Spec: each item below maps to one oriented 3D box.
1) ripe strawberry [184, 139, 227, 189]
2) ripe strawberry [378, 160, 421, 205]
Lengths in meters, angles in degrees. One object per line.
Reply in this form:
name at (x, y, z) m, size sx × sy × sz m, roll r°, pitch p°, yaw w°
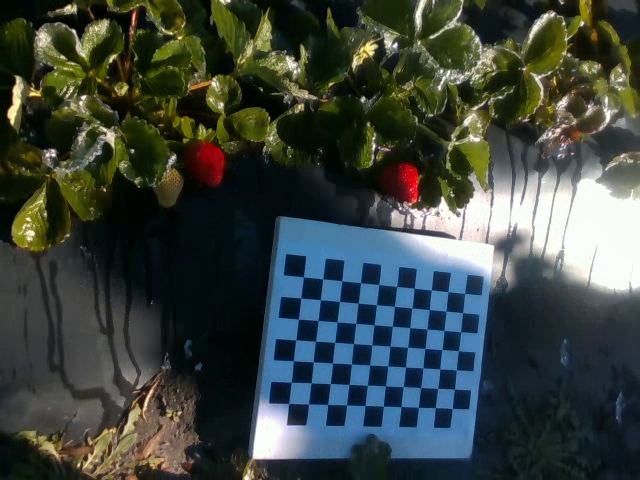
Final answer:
ripe strawberry at (-0.116, -0.072, 0.618) m, size 0.042 × 0.061 × 0.046 m, roll -10°, pitch -37°, yaw -21°
ripe strawberry at (0.100, -0.064, 0.695) m, size 0.048 × 0.061 × 0.044 m, roll -2°, pitch -30°, yaw -21°
